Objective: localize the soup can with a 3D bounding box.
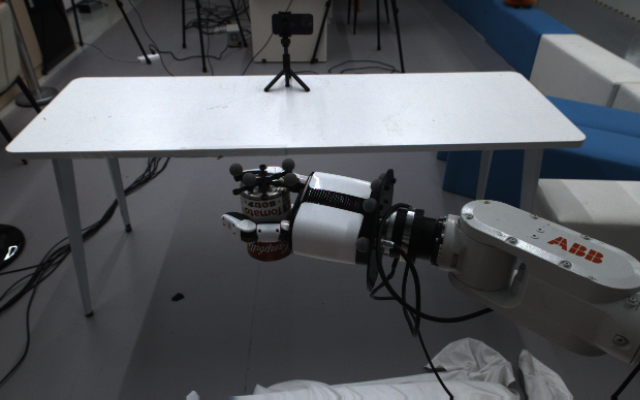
[{"bbox_3d":[-0.069,0.024,0.655,0.067,0.101,0.067,-2,32,1],"label":"soup can"}]
